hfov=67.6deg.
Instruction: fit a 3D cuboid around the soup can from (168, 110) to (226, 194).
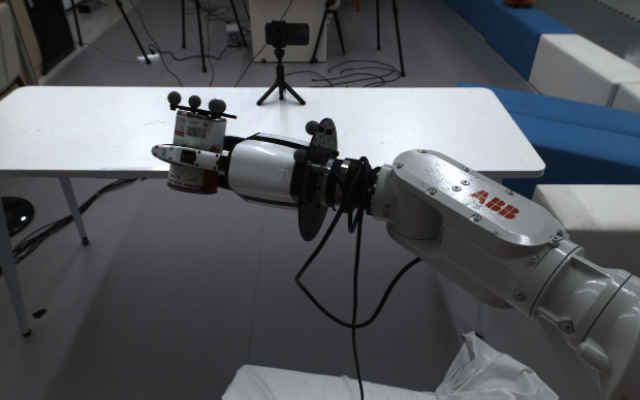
[{"bbox_3d":[-0.165,-0.063,0.655,0.067,0.101,0.067,10,9,-2],"label":"soup can"}]
